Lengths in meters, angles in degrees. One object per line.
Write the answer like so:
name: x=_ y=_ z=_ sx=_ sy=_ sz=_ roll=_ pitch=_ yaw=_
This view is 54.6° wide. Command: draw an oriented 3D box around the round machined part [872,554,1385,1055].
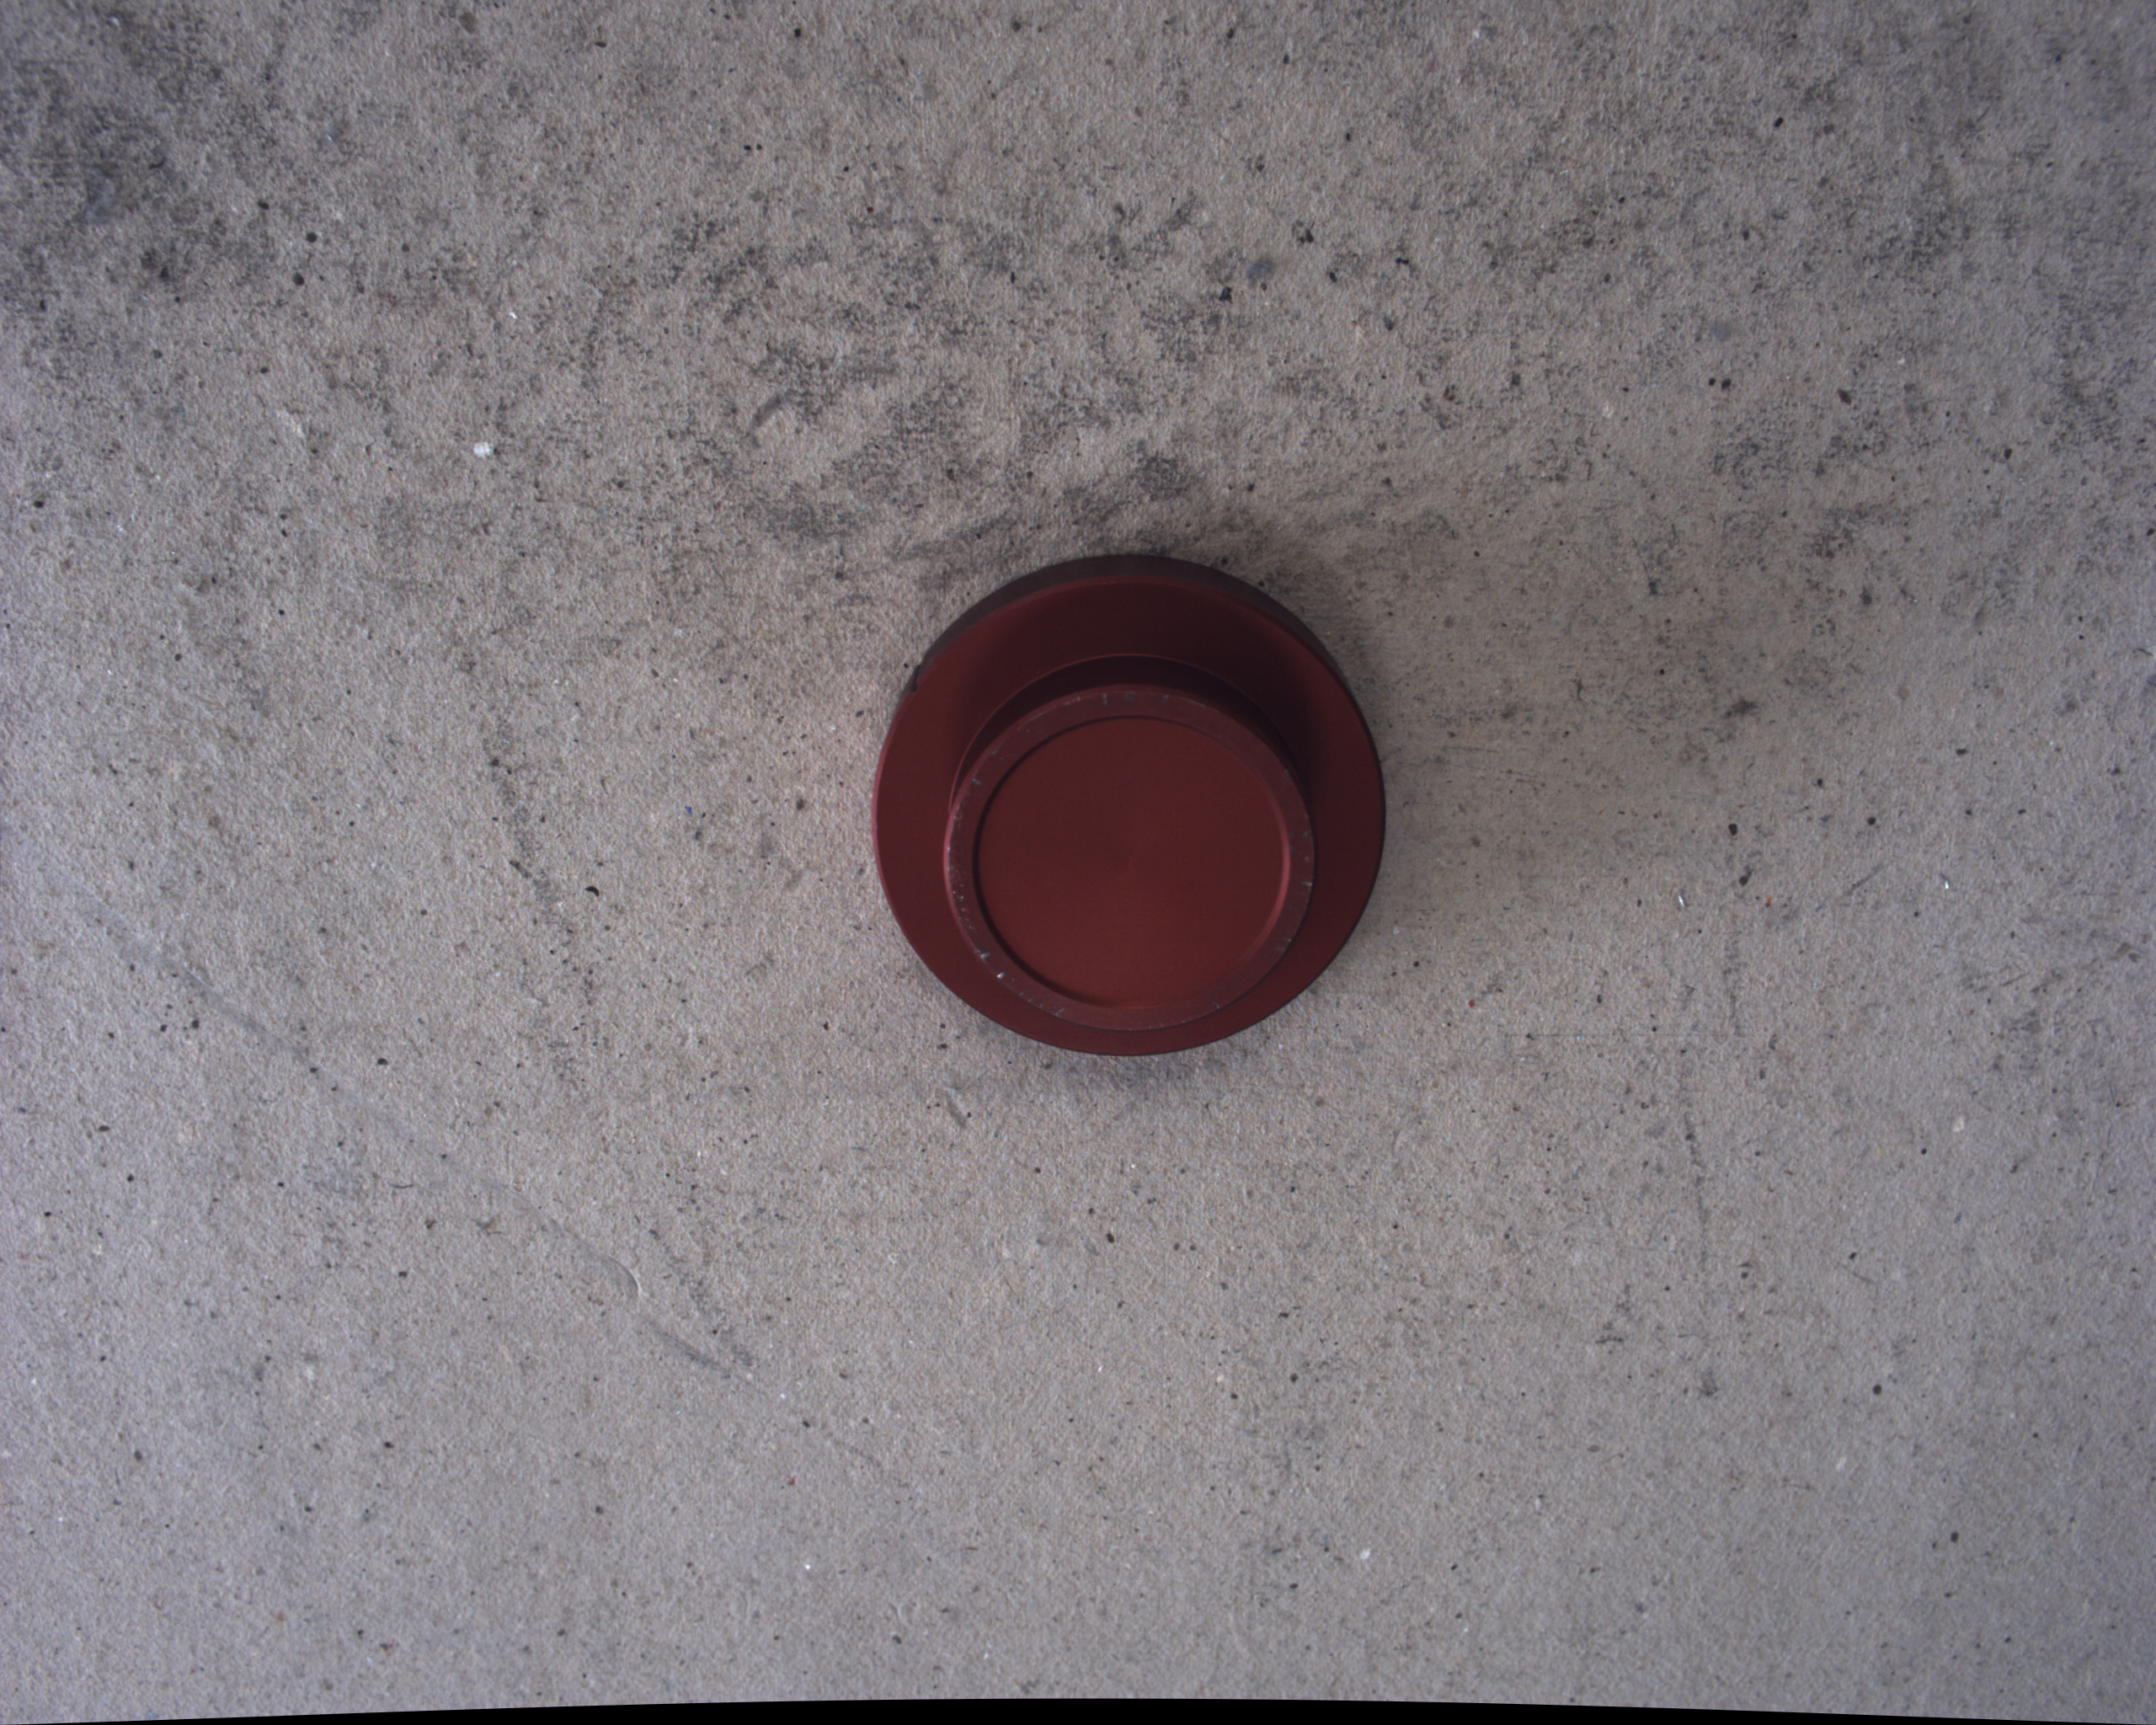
round machined part: x=0.010 y=-0.007 z=0.400 sx=0.099 sy=0.042 sz=0.097 roll=0 pitch=110 yaw=0
